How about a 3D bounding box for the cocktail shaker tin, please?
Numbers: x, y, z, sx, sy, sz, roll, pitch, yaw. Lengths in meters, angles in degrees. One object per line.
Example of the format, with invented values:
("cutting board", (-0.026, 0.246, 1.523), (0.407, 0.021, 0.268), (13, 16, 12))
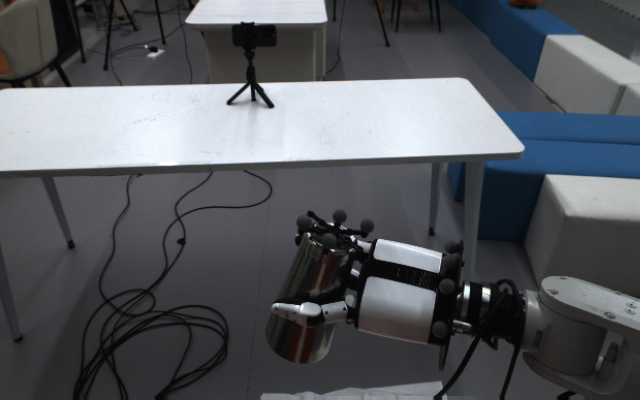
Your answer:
("cocktail shaker tin", (-0.005, 0.112, 0.616), (0.093, 0.170, 0.093), (12, 29, -7))
